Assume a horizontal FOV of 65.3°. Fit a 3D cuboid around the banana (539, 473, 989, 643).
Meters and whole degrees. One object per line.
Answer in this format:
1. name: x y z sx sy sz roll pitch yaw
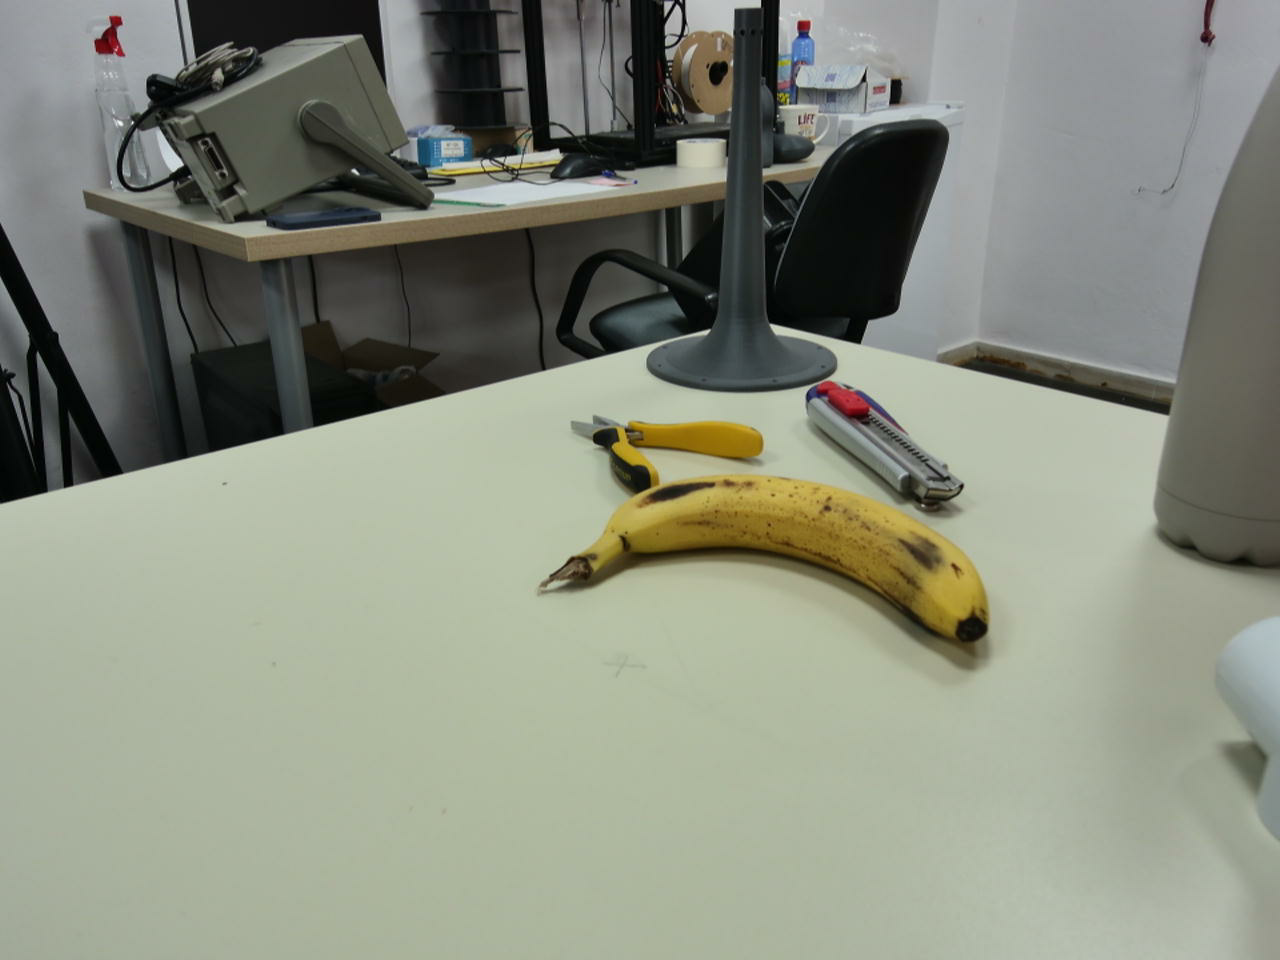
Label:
1. banana: 0.064 0.030 0.457 0.186 0.038 0.097 9 23 22
